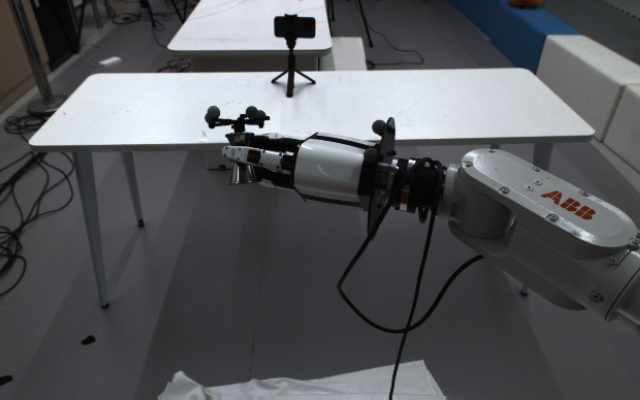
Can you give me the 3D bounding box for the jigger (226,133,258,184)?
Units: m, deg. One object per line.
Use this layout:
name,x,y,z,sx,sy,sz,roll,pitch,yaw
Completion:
jigger,-0.107,-0.056,0.662,0.043,0.071,0.043,-4,1,0
